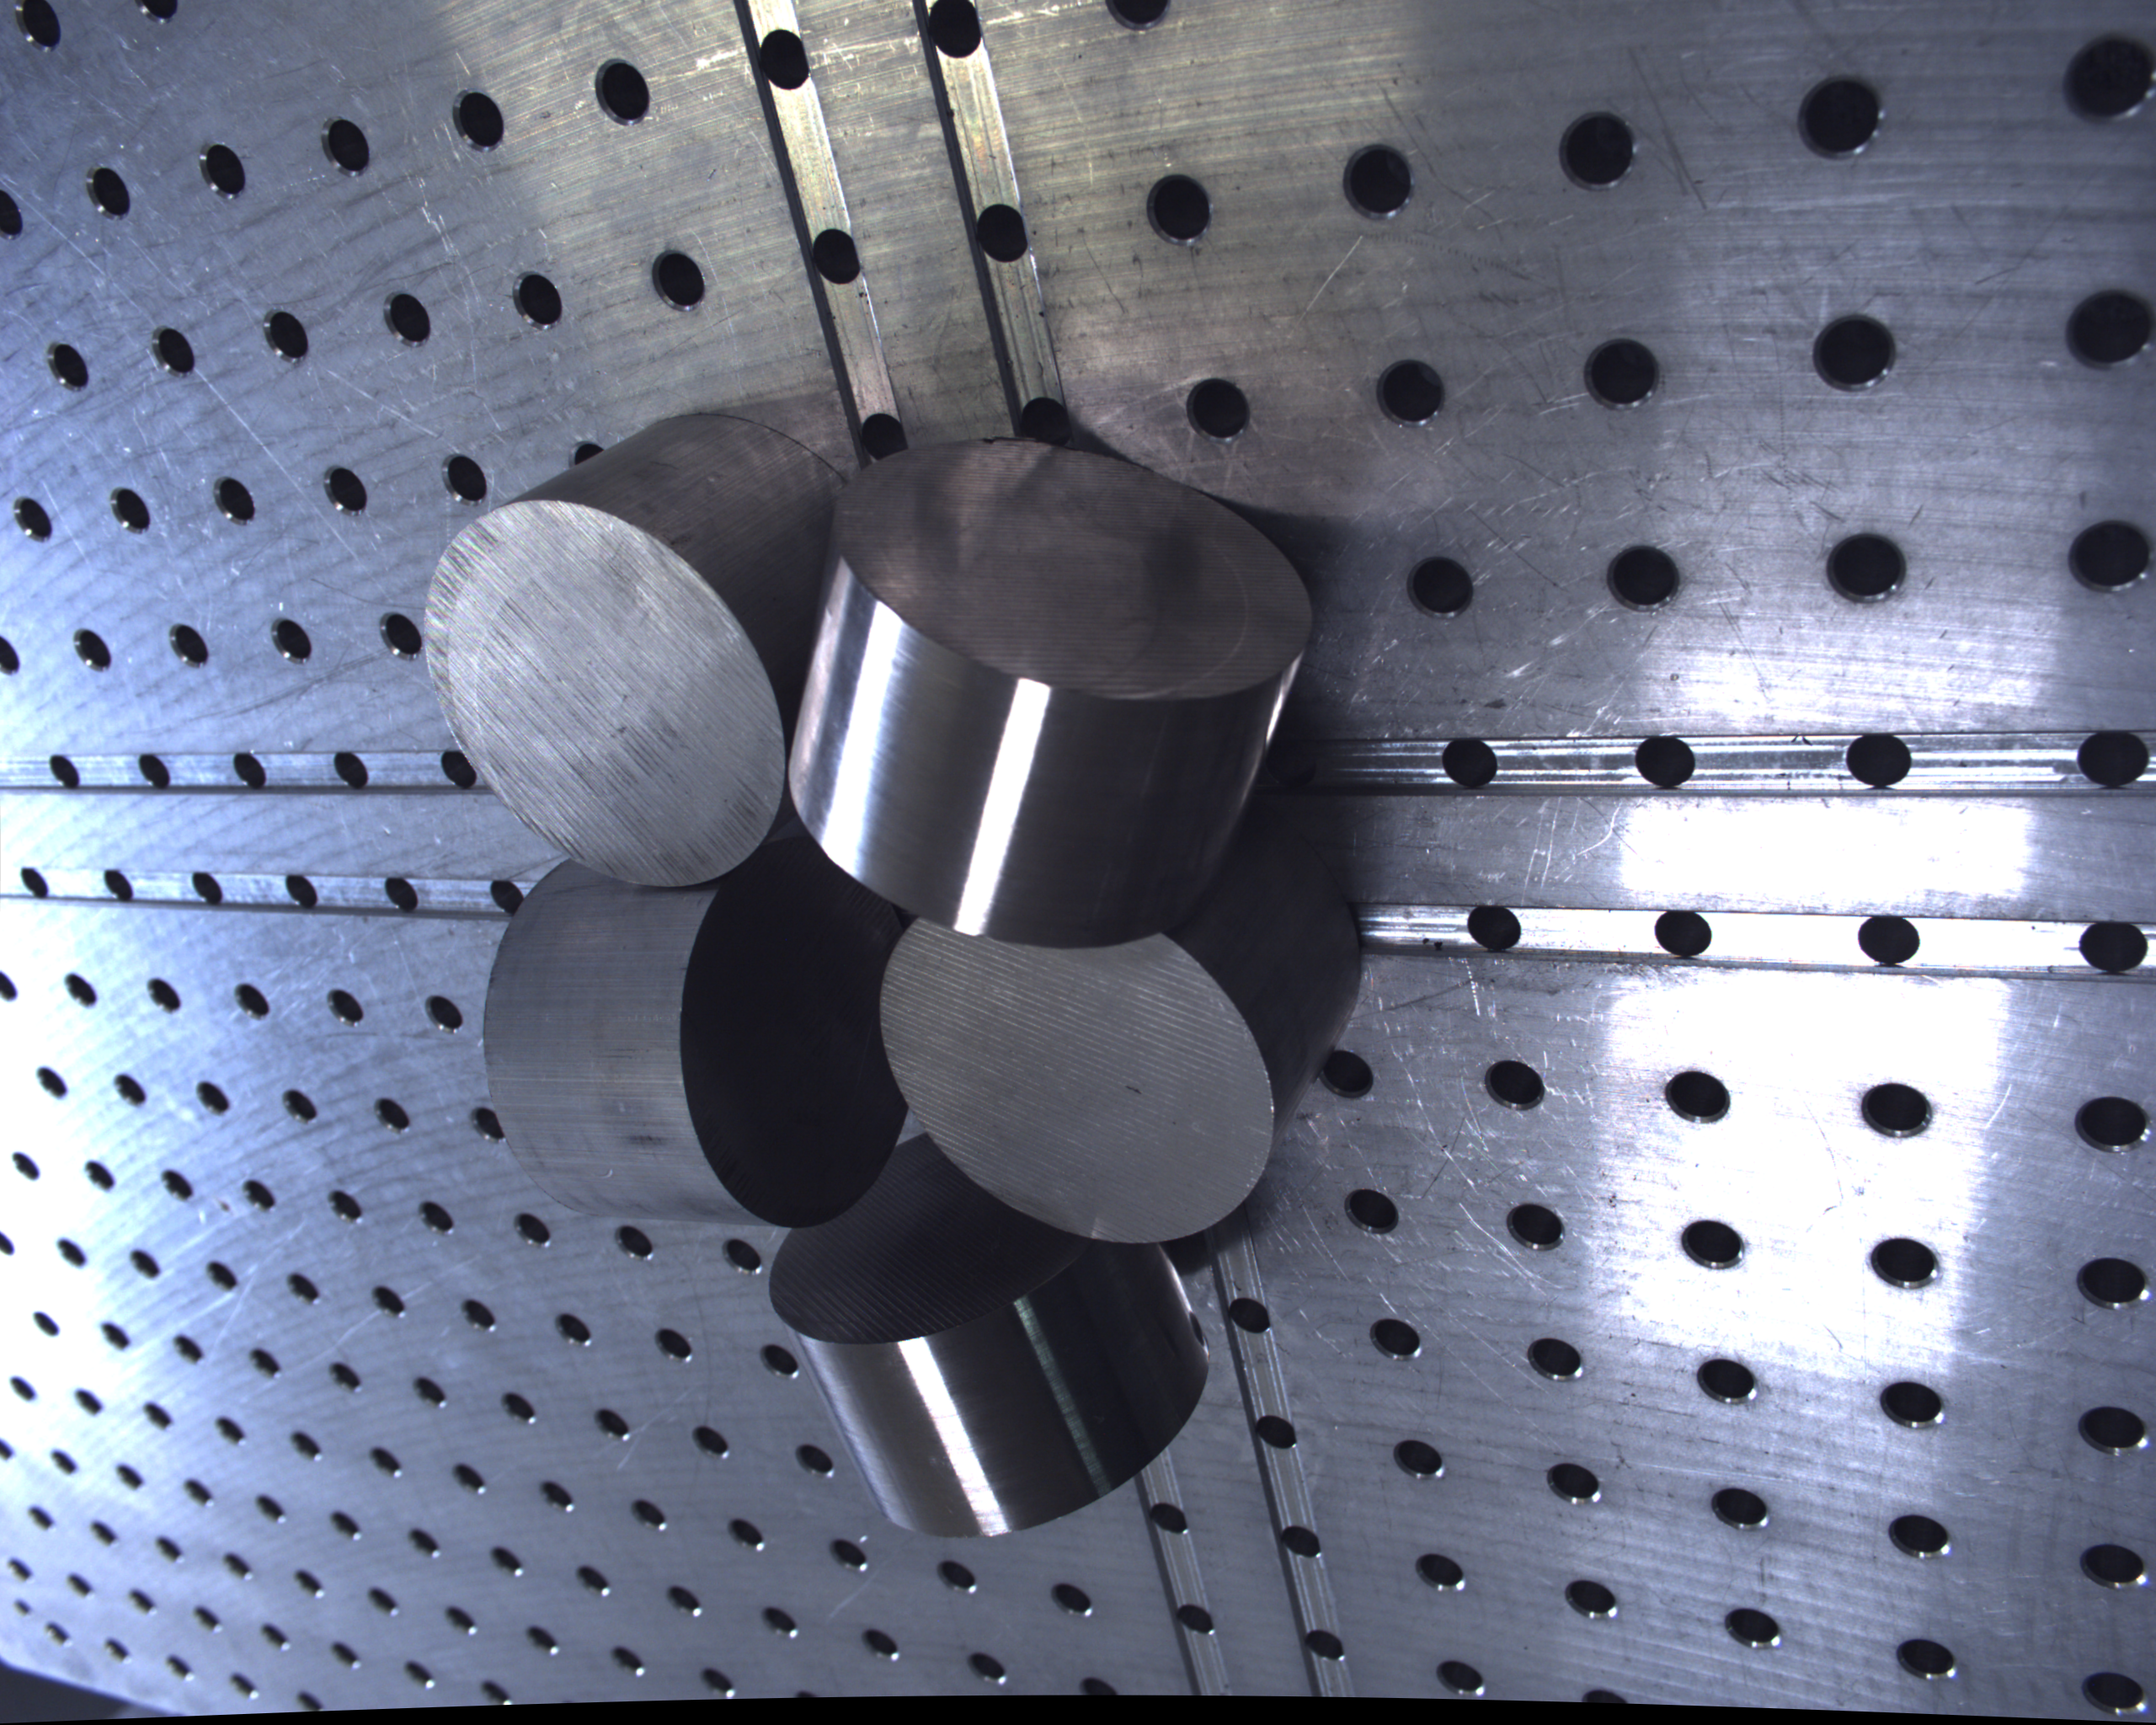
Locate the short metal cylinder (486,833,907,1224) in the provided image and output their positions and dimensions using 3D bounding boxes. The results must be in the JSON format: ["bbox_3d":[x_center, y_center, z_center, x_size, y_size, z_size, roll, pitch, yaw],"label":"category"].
[{"bbox_3d":[-0.076,0.035,0.438,0.050,0.080,0.080,-3,117,29],"label":"short metal cylinder"}]

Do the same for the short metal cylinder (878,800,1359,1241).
[{"bbox_3d":[0.009,0.026,0.407,0.080,0.050,0.079,13,124,20],"label":"short metal cylinder"}]

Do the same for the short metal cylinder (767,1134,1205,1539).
[{"bbox_3d":[-0.019,0.096,0.444,0.080,0.080,0.050,-6,116,31],"label":"short metal cylinder"}]

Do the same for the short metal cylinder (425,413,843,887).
[{"bbox_3d":[-0.079,-0.042,0.410,0.080,0.050,0.079,14,125,21],"label":"short metal cylinder"}]

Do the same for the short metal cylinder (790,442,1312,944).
[{"bbox_3d":[-0.006,-0.031,0.360,0.080,0.080,0.050,25,127,12],"label":"short metal cylinder"}]
